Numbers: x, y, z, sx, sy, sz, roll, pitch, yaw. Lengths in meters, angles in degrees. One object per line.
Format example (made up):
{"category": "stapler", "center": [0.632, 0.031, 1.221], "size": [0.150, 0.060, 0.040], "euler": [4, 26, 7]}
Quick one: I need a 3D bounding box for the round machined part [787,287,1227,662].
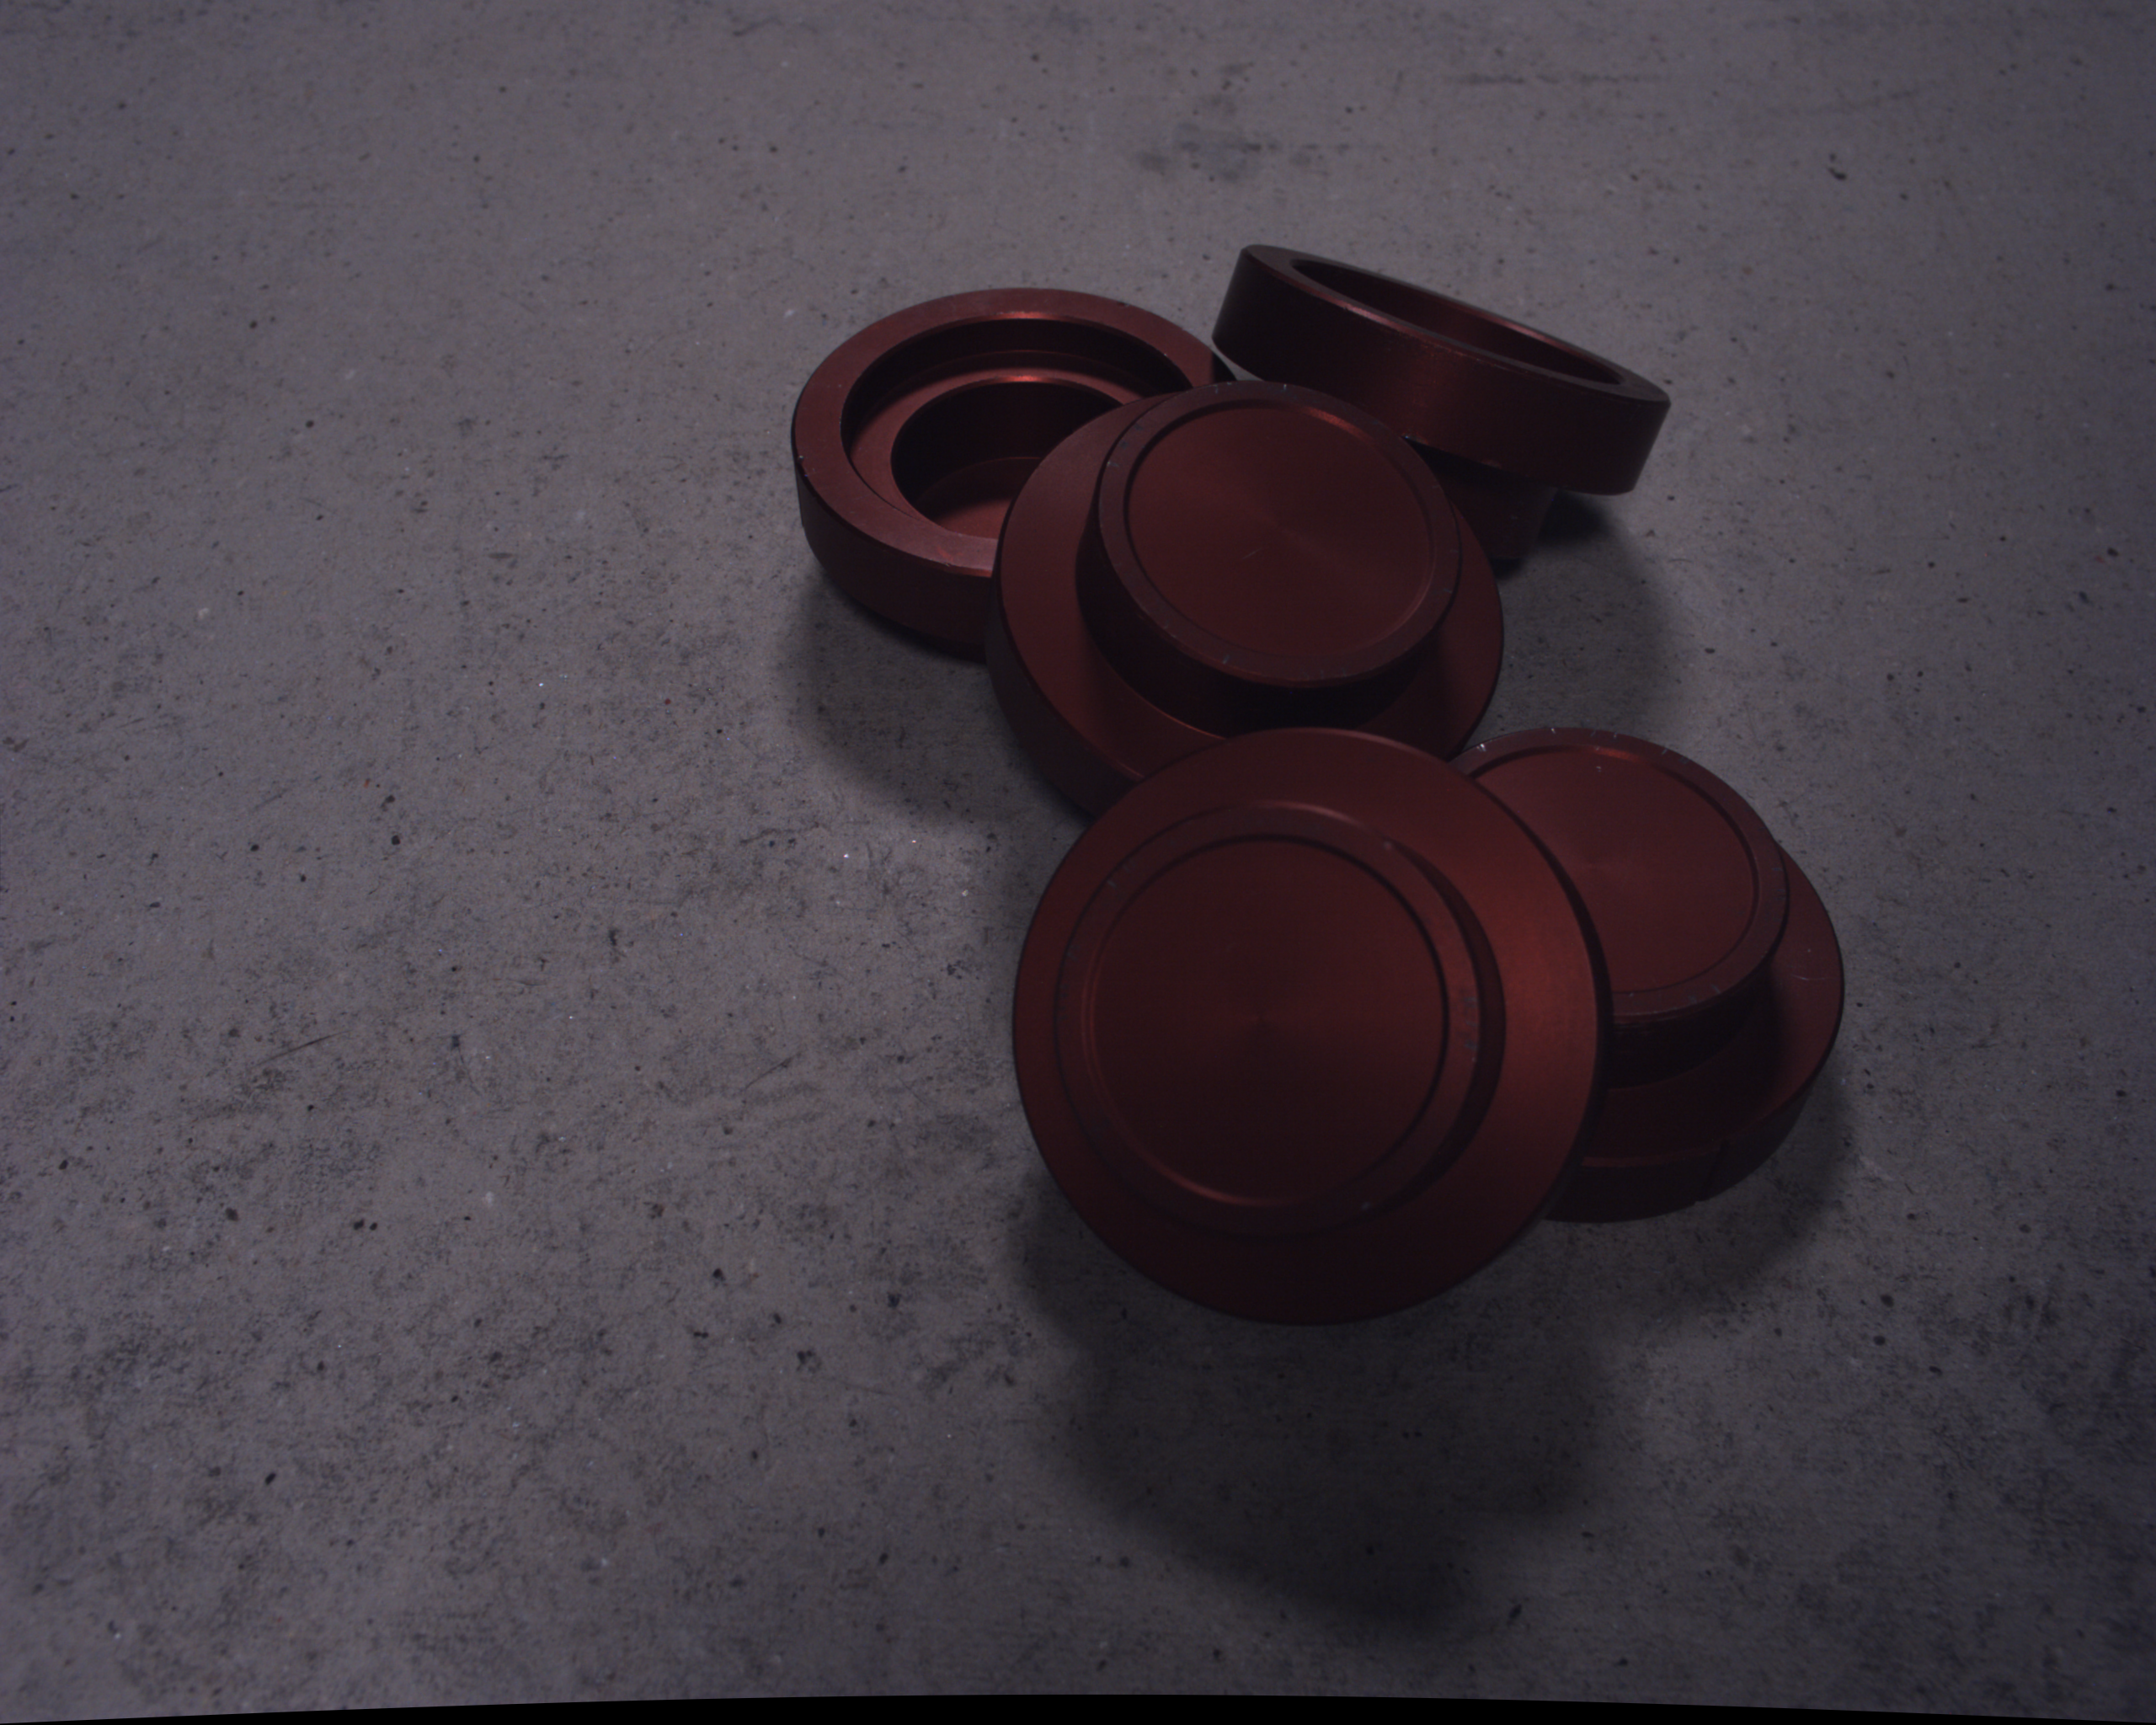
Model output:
{"category": "round machined part", "center": [-0.013, -0.082, 0.462], "size": [0.099, 0.042, 0.098], "euler": [0, 50, 0]}

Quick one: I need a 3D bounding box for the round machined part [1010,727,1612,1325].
{"category": "round machined part", "center": [0.035, 0.026, 0.339], "size": [0.098, 0.042, 0.097], "euler": [-2, 83, 19]}

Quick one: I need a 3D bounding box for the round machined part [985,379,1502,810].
{"category": "round machined part", "center": [0.033, -0.052, 0.395], "size": [0.099, 0.042, 0.098], "euler": [4, 60, -7]}

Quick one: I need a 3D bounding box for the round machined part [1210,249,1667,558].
{"category": "round machined part", "center": [0.075, -0.100, 0.460], "size": [0.099, 0.042, 0.098], "euler": [16, 23, -7]}

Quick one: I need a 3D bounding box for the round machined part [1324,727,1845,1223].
{"category": "round machined part", "center": [0.091, 0.013, 0.383], "size": [0.099, 0.042, 0.098], "euler": [0, 50, 0]}
